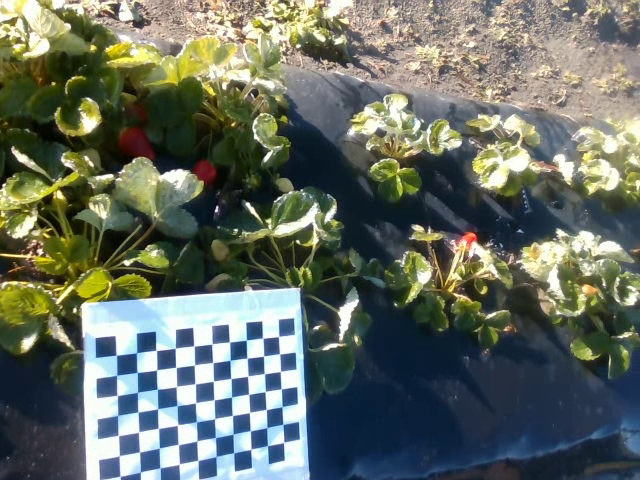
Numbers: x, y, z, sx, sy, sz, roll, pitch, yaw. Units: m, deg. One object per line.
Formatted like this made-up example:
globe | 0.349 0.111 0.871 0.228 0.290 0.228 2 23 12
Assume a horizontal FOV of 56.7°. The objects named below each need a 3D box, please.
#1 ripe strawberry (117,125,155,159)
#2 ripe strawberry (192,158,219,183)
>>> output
ripe strawberry | -0.246 -0.131 0.797 0.044 0.056 0.040 -47 14 -28
ripe strawberry | -0.163 -0.093 0.821 0.039 0.047 0.040 39 -37 -18
